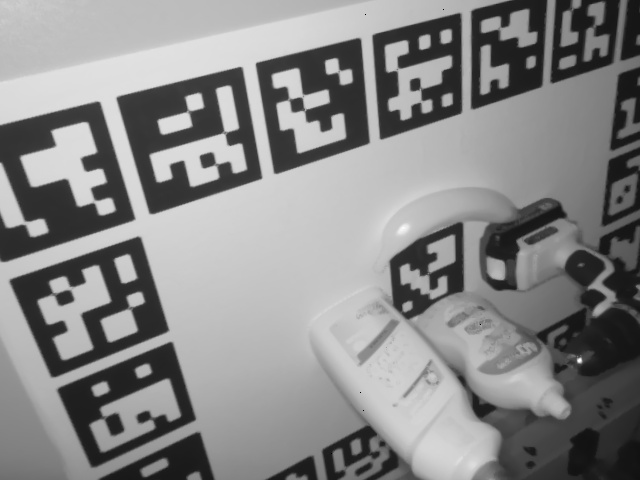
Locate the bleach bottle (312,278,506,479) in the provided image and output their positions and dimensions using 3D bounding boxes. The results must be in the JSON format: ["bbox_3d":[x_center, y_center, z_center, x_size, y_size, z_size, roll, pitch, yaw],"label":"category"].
[{"bbox_3d":[0.086,0.124,0.637,0.104,0.249,0.067,-26,120,-16],"label":"bleach bottle"}]

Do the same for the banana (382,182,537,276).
[{"bbox_3d":[0.147,-0.023,0.722,0.200,0.038,0.074,-16,113,-24],"label":"banana"}]

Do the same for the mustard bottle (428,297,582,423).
[{"bbox_3d":[0.201,0.129,0.726,0.097,0.190,0.058,-17,119,-19],"label":"mustard bottle"}]

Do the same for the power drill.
[{"bbox_3d":[0.293,0.051,0.720,0.186,0.186,0.057,-20,126,-16],"label":"power drill"}]
